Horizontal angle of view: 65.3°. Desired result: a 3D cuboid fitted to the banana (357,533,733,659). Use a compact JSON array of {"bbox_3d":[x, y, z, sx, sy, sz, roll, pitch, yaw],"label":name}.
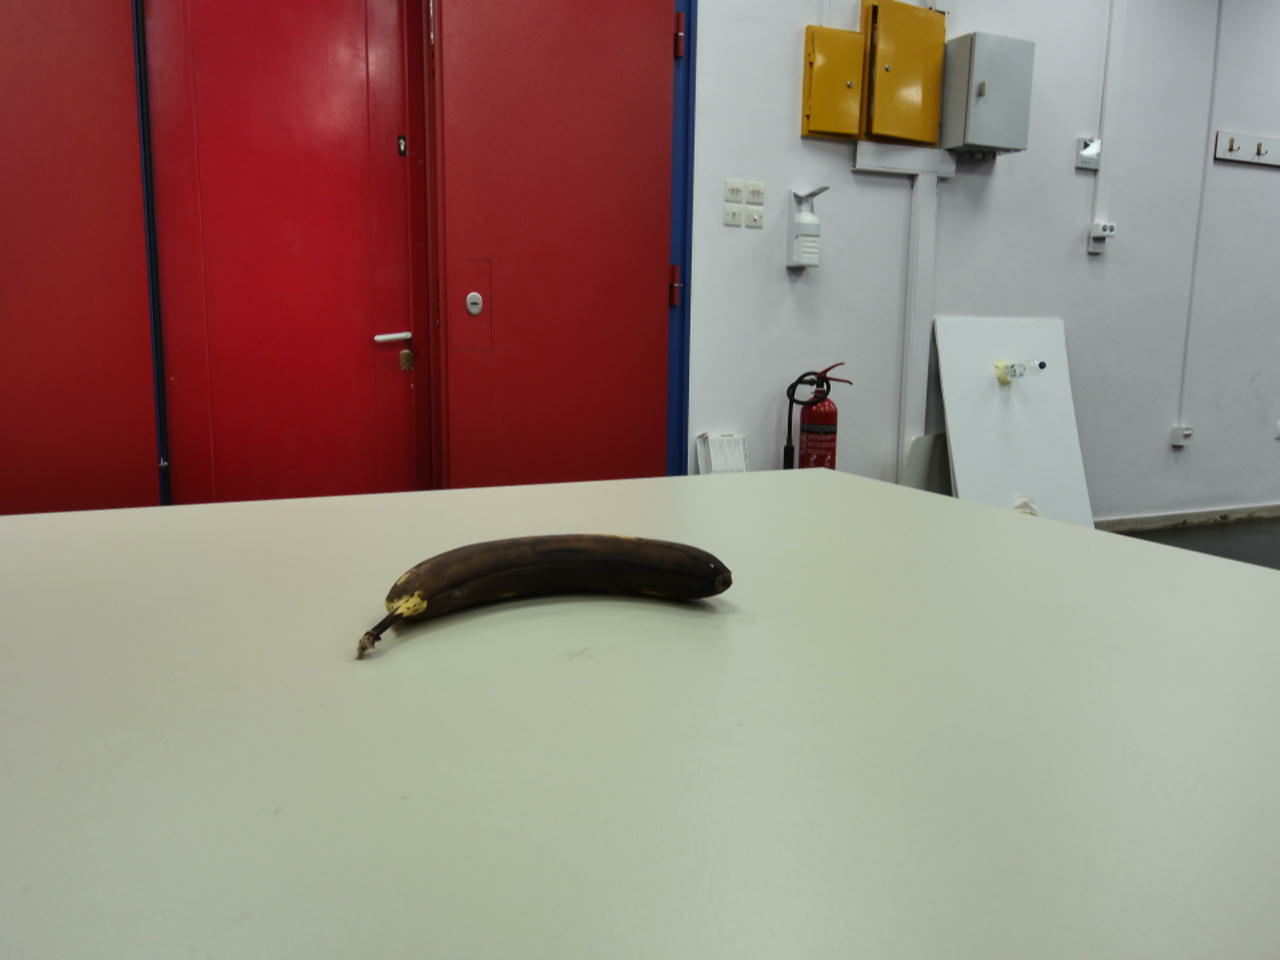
[{"bbox_3d":[-0.051,0.049,0.502,0.188,0.033,0.091,-3,7,-24],"label":"banana"}]
